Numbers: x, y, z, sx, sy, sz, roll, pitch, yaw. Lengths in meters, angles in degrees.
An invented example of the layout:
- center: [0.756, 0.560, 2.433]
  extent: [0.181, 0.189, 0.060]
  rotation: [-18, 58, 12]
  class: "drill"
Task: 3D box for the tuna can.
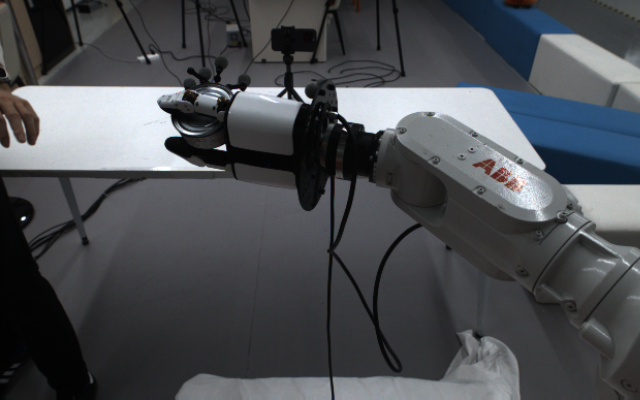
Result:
- center: [-0.145, -0.108, 0.628]
  extent: [0.085, 0.034, 0.085]
  rotation: [-6, 59, 10]
  class: "tuna can"
